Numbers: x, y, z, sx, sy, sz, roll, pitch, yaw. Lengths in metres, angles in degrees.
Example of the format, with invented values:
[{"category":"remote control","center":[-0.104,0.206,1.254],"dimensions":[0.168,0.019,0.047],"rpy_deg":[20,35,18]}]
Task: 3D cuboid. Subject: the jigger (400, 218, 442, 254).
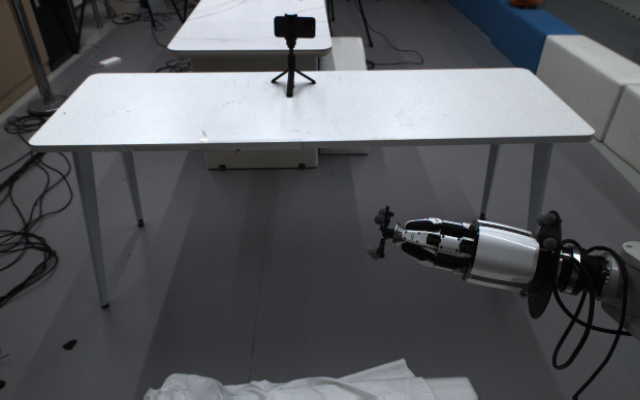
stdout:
[{"category":"jigger","center":[0.157,0.056,0.753],"dimensions":[0.071,0.043,0.043],"rpy_deg":[10,35,16]}]
